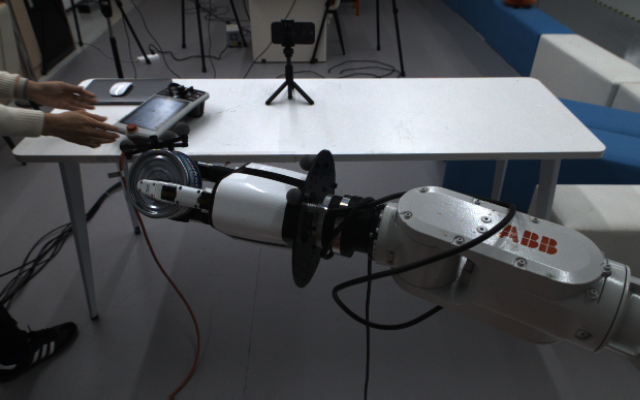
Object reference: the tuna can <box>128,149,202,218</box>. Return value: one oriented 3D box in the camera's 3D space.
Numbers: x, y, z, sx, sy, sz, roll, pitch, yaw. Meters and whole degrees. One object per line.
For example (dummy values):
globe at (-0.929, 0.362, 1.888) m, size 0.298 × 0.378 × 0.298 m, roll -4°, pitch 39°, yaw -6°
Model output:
tuna can at (-0.187, -0.014, 0.588) m, size 0.085 × 0.085 × 0.034 m, roll 12°, pitch 3°, yaw 14°
